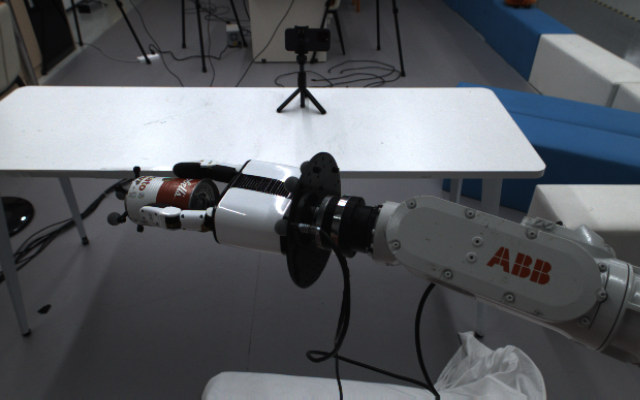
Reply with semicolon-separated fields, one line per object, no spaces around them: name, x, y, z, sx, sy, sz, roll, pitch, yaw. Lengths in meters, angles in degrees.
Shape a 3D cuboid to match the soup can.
soup can;-0.189;0.005;0.628;0.101;0.067;0.067;4;34;20
